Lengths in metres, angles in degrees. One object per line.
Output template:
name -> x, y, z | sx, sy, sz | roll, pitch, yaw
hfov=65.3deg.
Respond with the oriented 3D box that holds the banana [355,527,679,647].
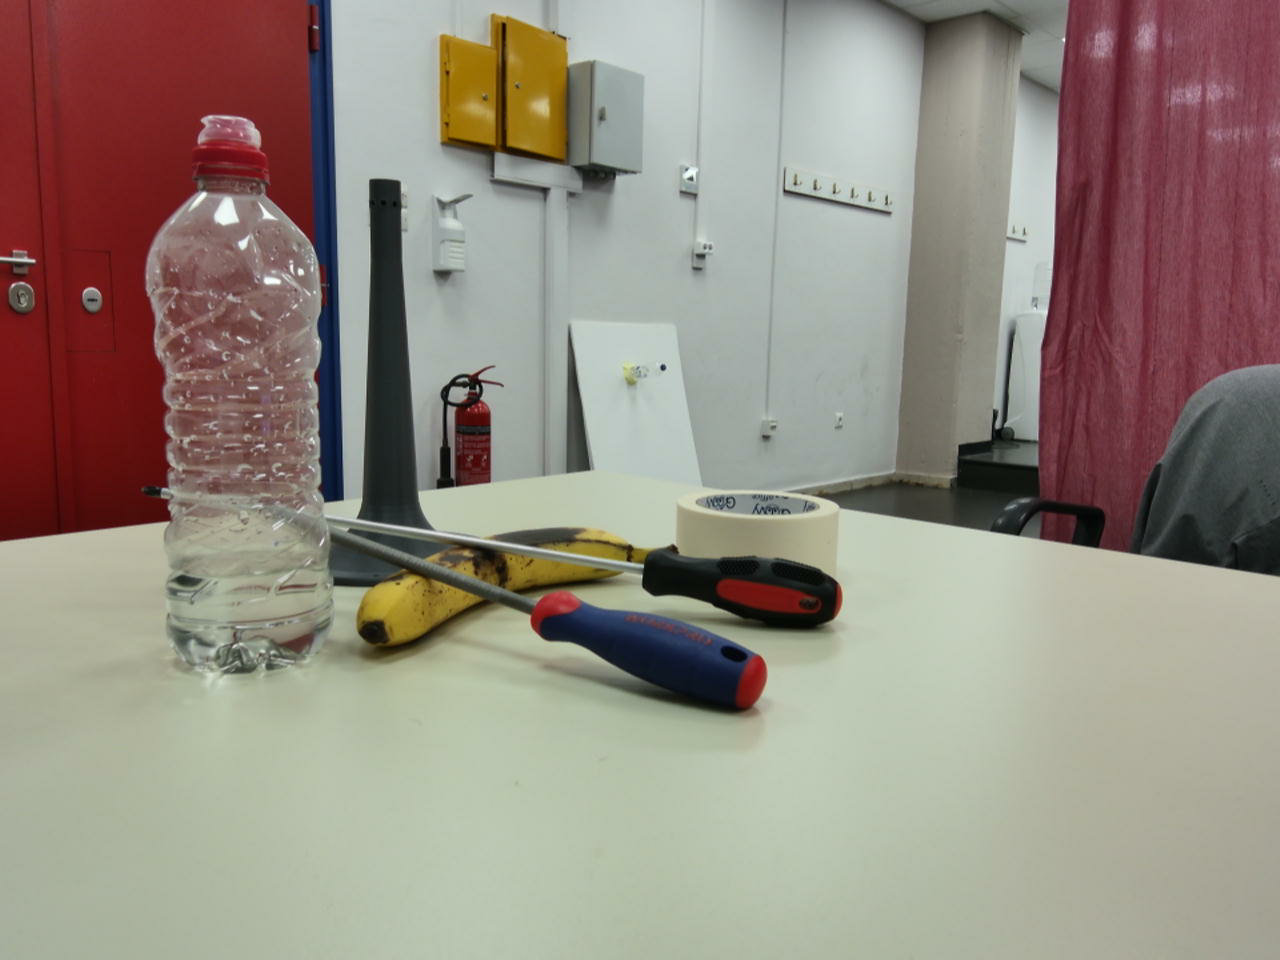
banana -> -0.081, 0.055, 0.576 | 0.084, 0.037, 0.222 | 6, 9, 42
